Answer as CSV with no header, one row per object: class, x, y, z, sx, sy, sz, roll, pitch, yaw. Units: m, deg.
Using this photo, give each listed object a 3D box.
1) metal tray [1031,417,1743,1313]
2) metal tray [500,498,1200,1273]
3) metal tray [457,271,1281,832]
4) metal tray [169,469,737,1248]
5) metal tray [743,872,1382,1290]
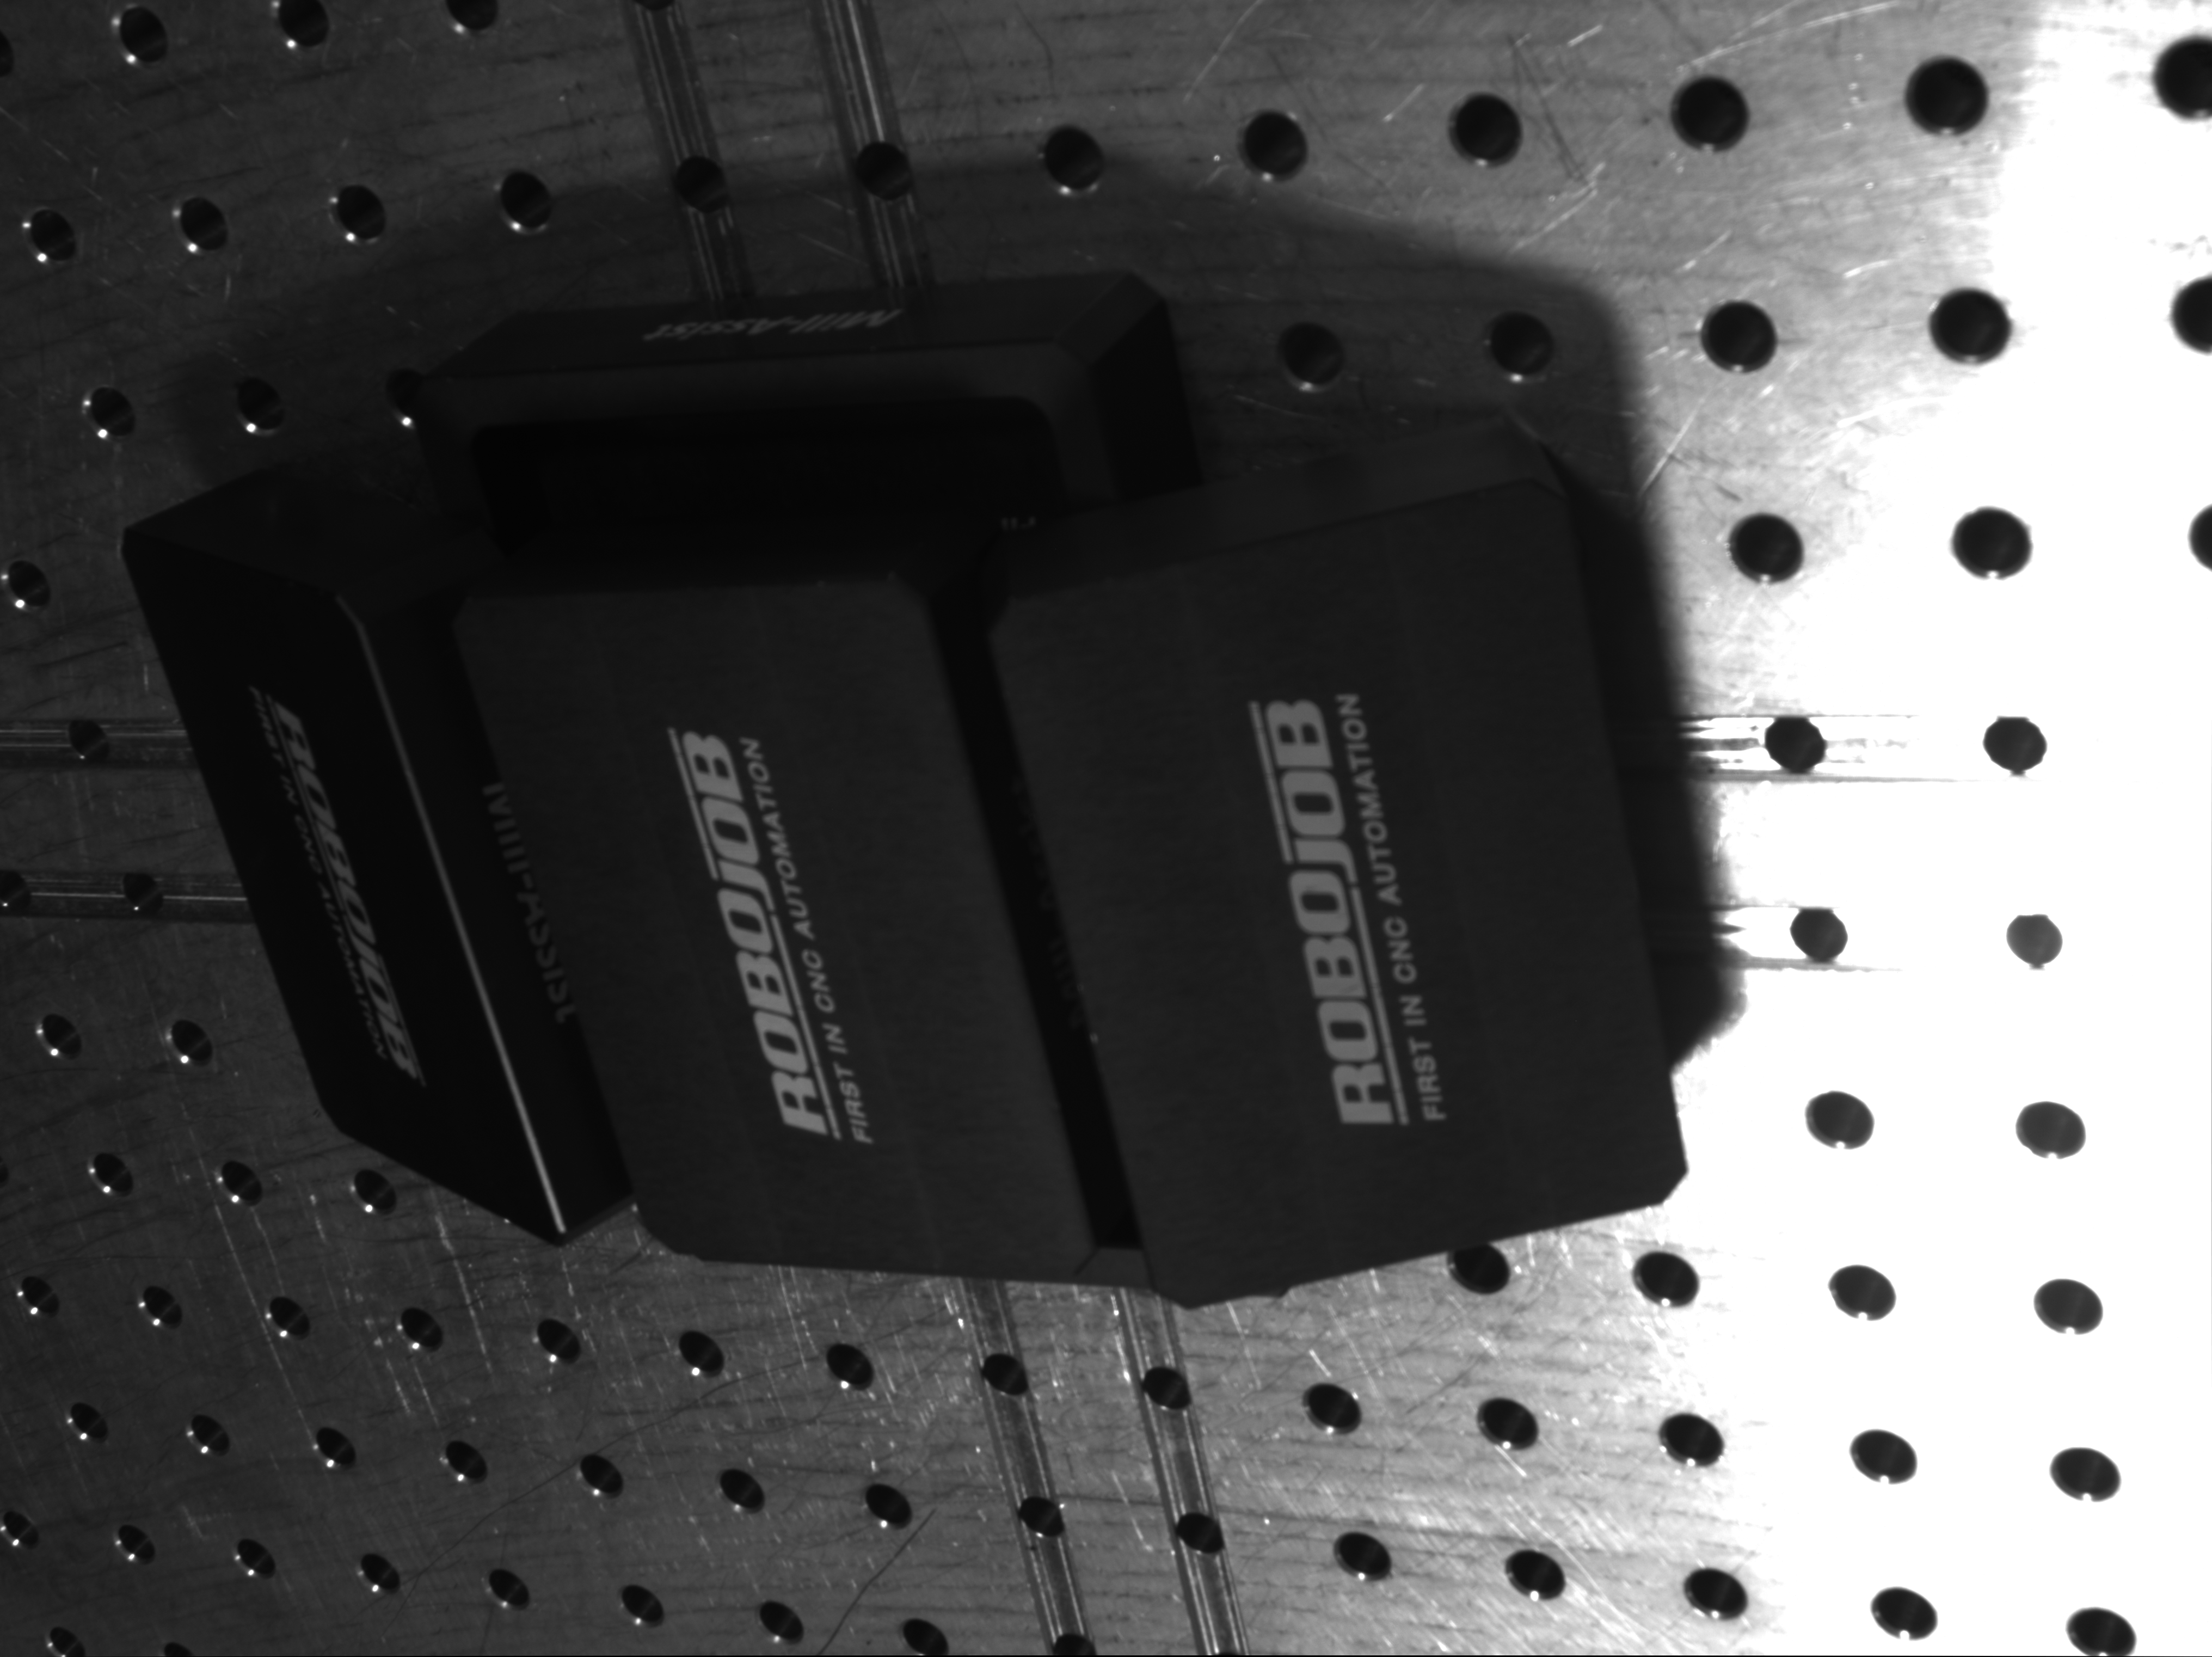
metal tray,0.046,0.008,0.588,0.090,0.030,0.130,-13,115,2
metal tray,-0.041,0.011,0.620,0.090,0.030,0.130,-1,118,27
metal tray,-0.039,-0.044,0.624,0.130,0.030,0.090,0,119,26
metal tray,-0.120,0.004,0.671,0.090,0.030,0.130,18,130,49
metal tray,-0.018,0.036,0.662,0.130,0.030,0.090,0,119,26
